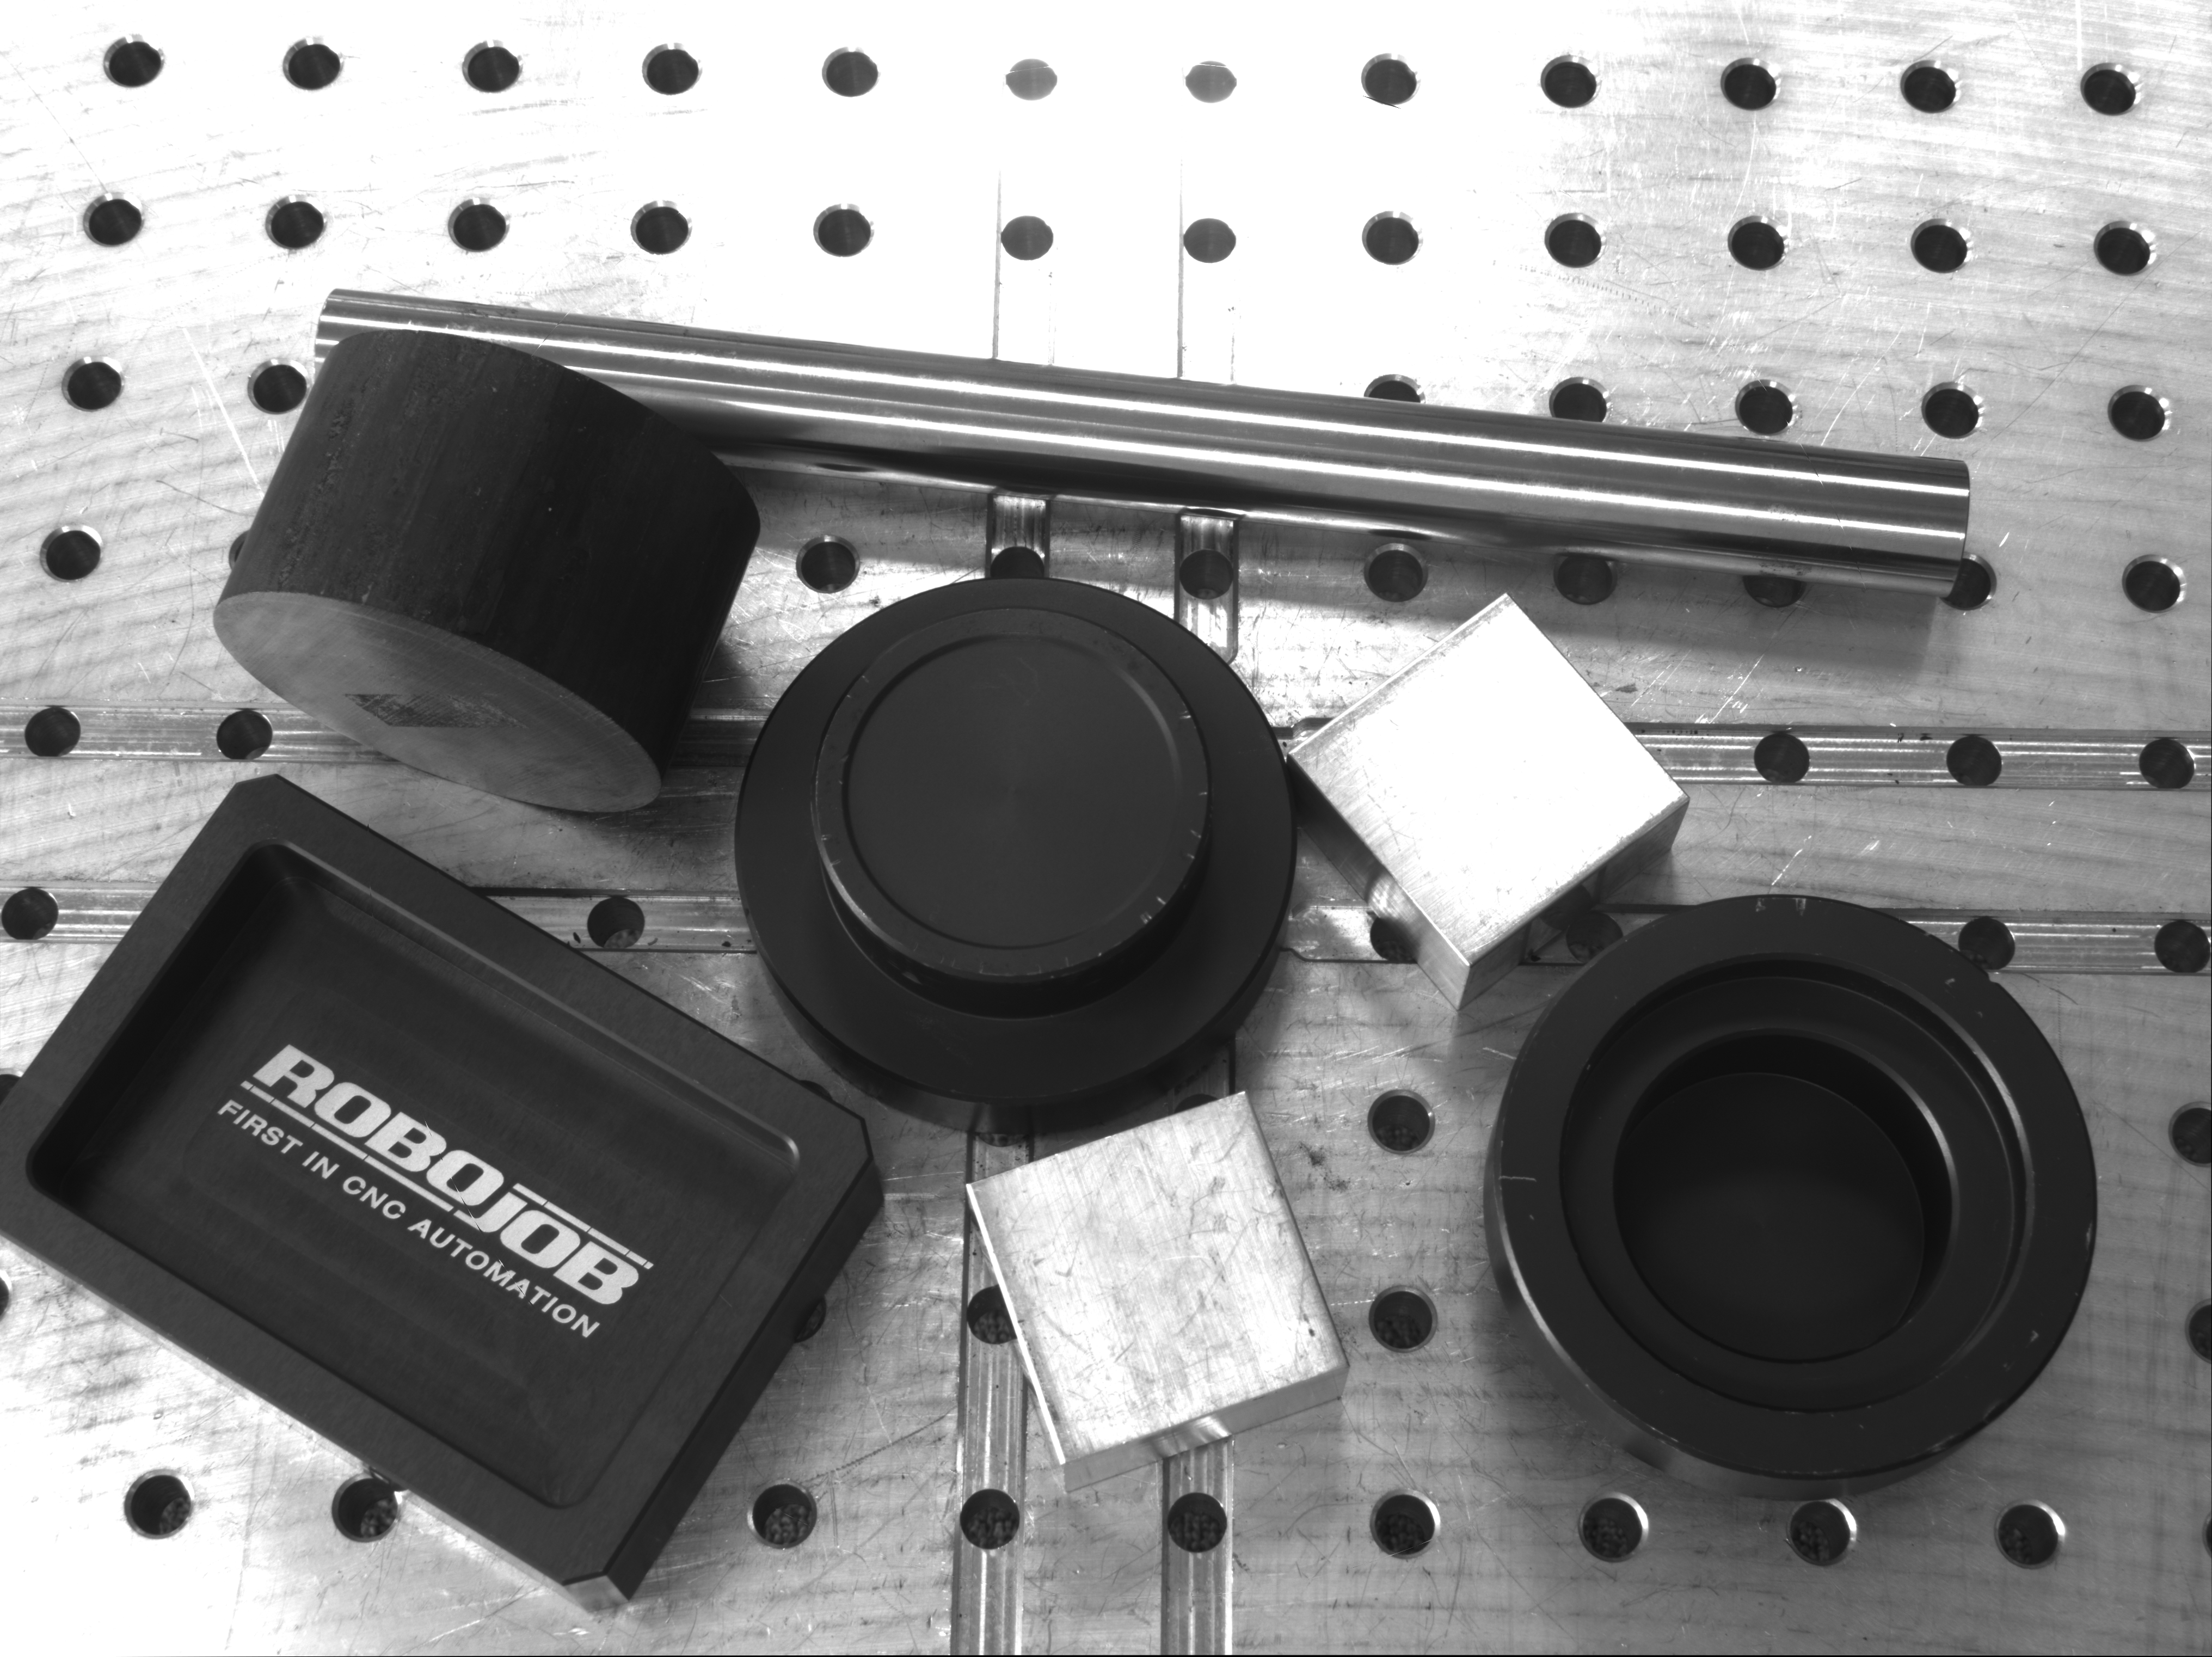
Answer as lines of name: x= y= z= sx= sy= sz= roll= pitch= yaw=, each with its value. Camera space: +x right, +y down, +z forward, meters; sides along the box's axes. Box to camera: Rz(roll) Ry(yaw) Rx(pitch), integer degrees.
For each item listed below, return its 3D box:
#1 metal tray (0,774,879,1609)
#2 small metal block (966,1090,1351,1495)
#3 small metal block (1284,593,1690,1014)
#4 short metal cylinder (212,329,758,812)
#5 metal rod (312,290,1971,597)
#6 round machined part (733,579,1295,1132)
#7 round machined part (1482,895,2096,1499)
metal tray: x=-0.115 y=0.060 z=0.622 sx=0.130 sy=0.030 sz=0.090 roll=29 pitch=73 yaw=11
small metal block: x=0.008 y=0.078 z=0.619 sx=0.050 sy=0.025 sz=0.050 roll=-18 pitch=71 yaw=-6
small metal block: x=0.066 y=-0.004 z=0.649 sx=0.050 sy=0.025 sz=0.050 roll=-36 pitch=74 yaw=-12
short metal cylinder: x=-0.107 y=-0.043 z=0.634 sx=0.080 sy=0.080 sz=0.050 roll=17 pitch=71 yaw=6
metal rod: x=0.006 y=-0.071 z=0.673 sx=0.300 sy=0.025 sz=0.025 roll=6 pitch=70 yaw=2
round machined part: x=-0.016 y=0.000 z=0.638 sx=0.098 sy=0.042 sz=0.098 roll=0 pitch=67 yaw=0
round machined part: x=0.112 y=0.064 z=0.615 sx=0.098 sy=0.042 sz=0.098 roll=0 pitch=70 yaw=0
